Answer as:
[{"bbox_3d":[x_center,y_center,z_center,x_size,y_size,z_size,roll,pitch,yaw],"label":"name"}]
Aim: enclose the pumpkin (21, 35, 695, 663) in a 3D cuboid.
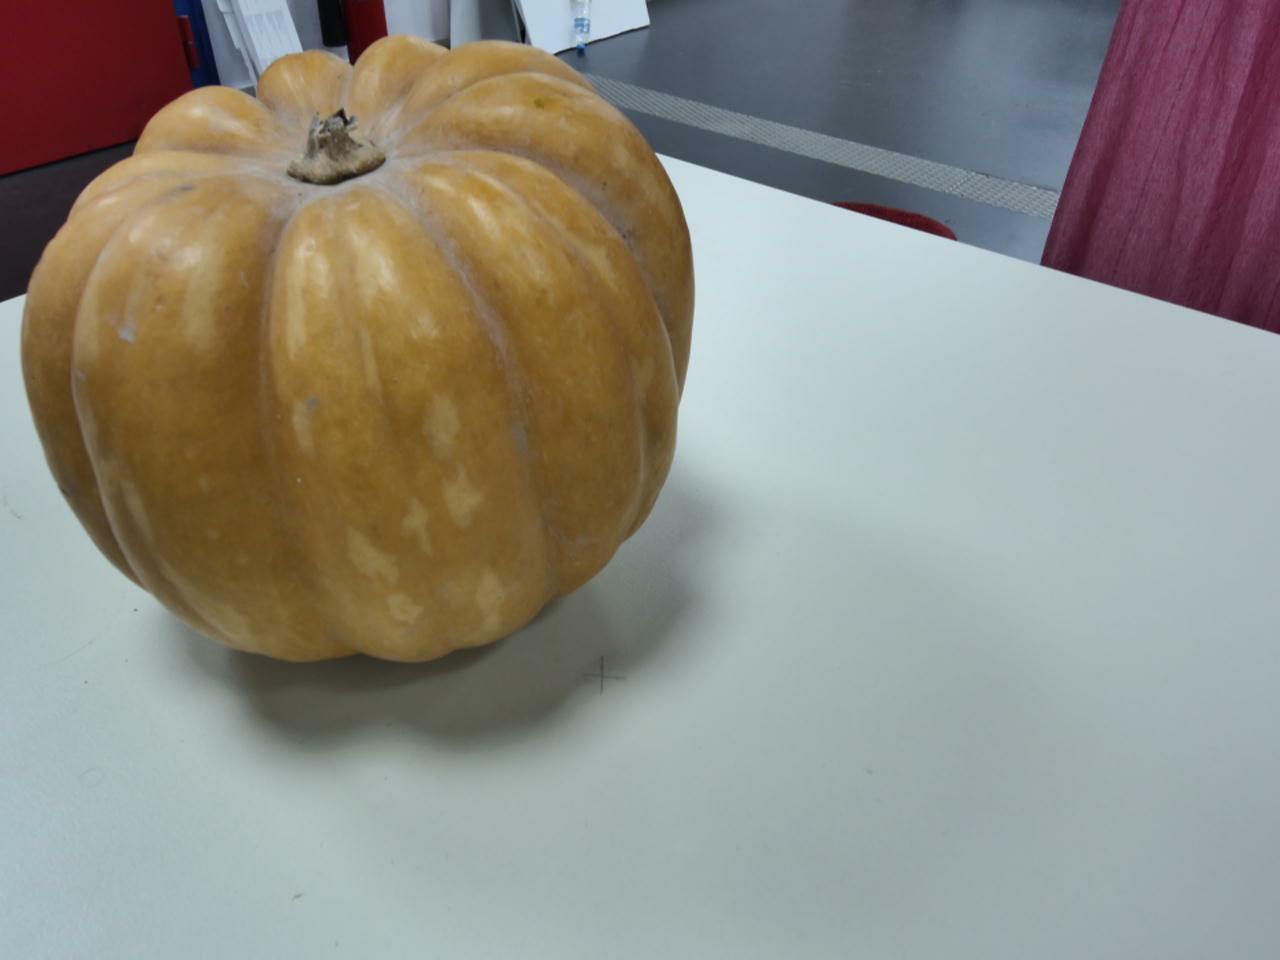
[{"bbox_3d":[-0.089,-0.045,0.360,0.230,0.194,0.230,0,37,0],"label":"pumpkin"}]
